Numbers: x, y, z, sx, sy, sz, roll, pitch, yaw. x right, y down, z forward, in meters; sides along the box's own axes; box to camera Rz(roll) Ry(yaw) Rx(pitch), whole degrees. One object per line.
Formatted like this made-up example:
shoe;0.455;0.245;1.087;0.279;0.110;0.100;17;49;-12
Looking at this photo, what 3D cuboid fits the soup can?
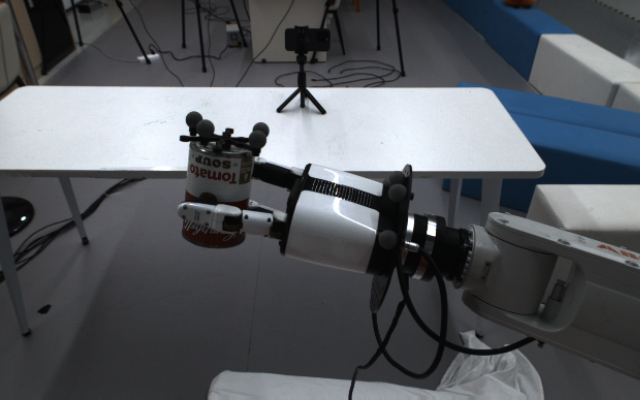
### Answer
soup can;-0.104;-0.010;0.507;0.067;0.101;0.067;9;20;-3
